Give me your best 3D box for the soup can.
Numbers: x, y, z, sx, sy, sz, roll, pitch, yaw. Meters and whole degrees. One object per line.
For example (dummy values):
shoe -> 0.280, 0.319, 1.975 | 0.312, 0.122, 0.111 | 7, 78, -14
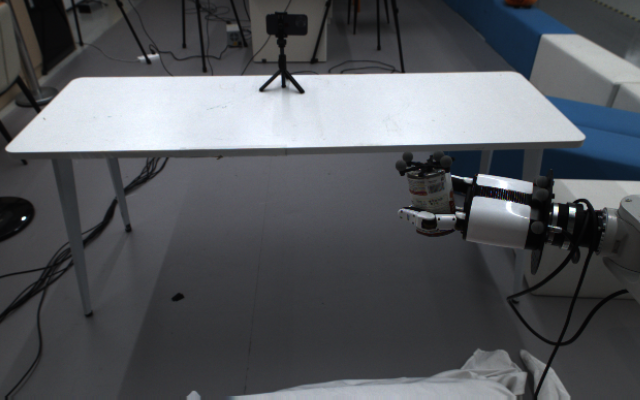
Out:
soup can -> 0.178, -0.003, 0.758 | 0.067, 0.101, 0.067 | -13, 20, 5
